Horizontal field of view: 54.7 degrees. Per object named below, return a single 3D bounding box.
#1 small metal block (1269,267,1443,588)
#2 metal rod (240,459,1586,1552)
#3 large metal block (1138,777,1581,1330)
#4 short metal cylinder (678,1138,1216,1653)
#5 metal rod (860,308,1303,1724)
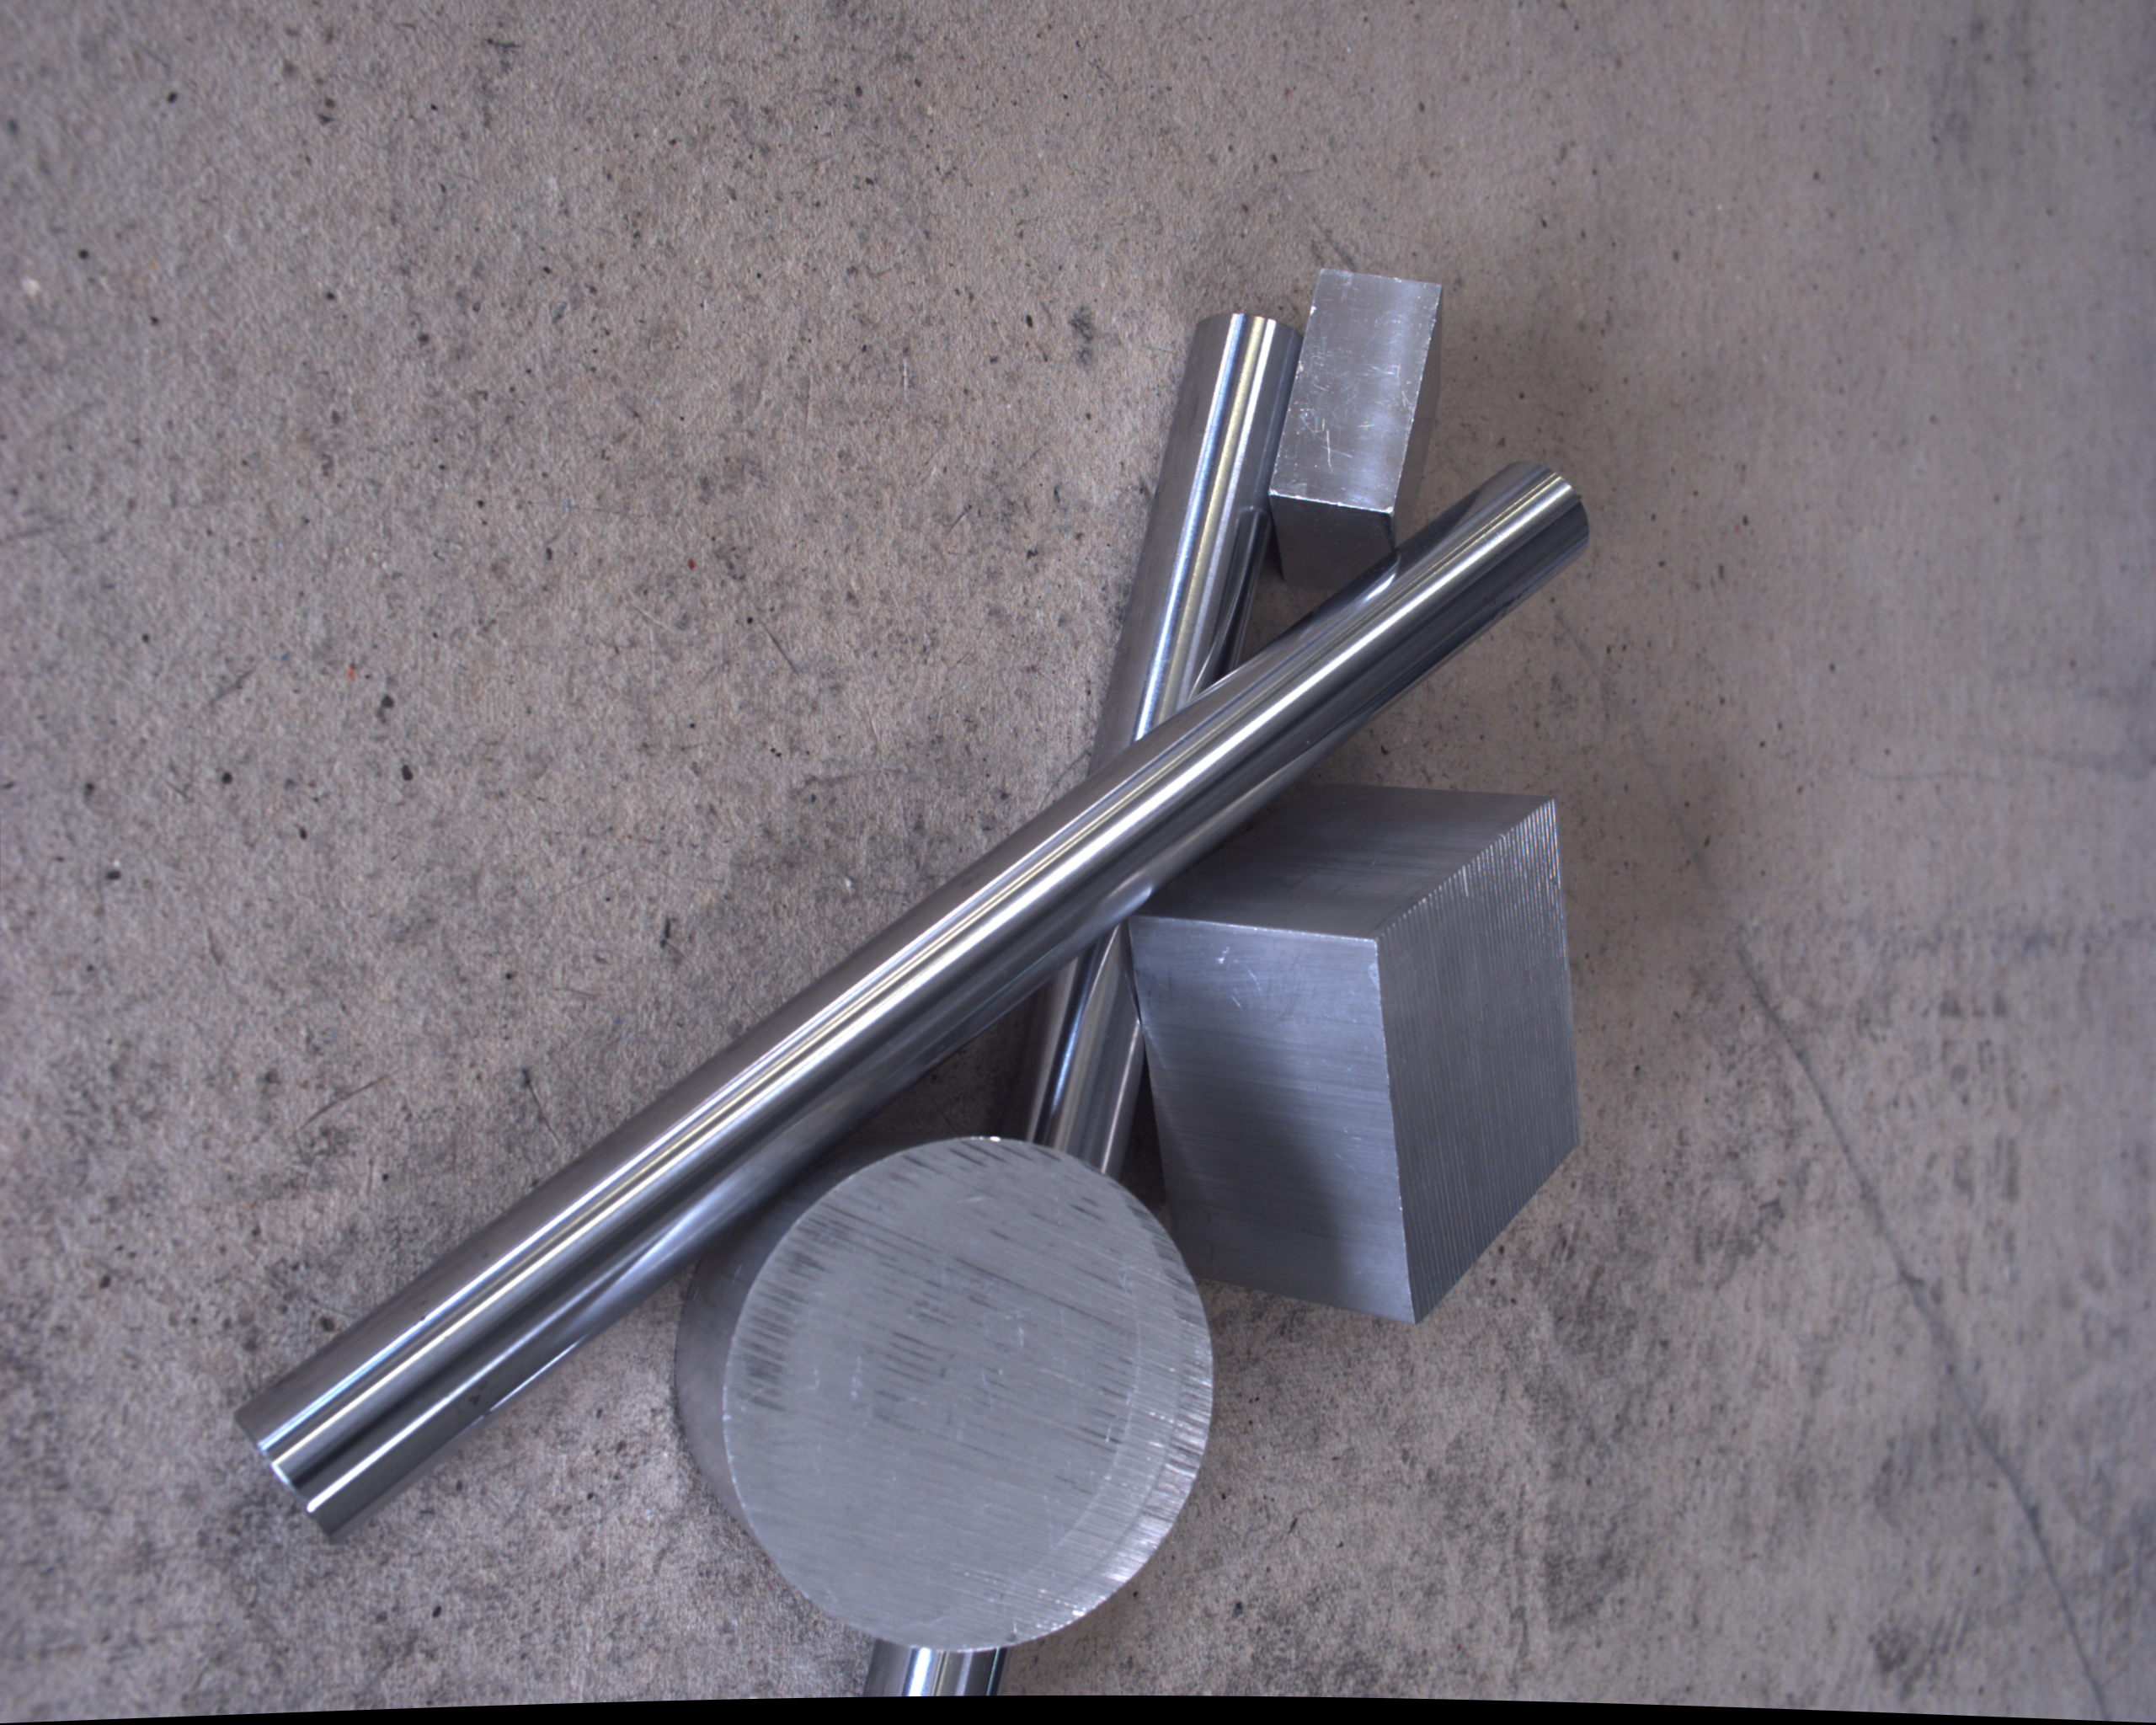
[{"bbox_3d":[0.059,-0.089,0.439,0.050,0.025,0.050,56,46,-74],"label":"small metal block"},{"bbox_3d":[-0.010,0.009,0.375,0.302,0.025,0.025,-38,114,-26],"label":"metal rod"},{"bbox_3d":[0.060,0.034,0.420,0.081,0.050,0.079,-31,119,-49],"label":"large metal block"},{"bbox_3d":[-0.024,0.086,0.354,0.081,0.050,0.080,2,83,-19],"label":"short metal cylinder"},{"bbox_3d":[0.003,0.033,0.408,0.025,0.025,0.299,22,76,-38],"label":"metal rod"}]
